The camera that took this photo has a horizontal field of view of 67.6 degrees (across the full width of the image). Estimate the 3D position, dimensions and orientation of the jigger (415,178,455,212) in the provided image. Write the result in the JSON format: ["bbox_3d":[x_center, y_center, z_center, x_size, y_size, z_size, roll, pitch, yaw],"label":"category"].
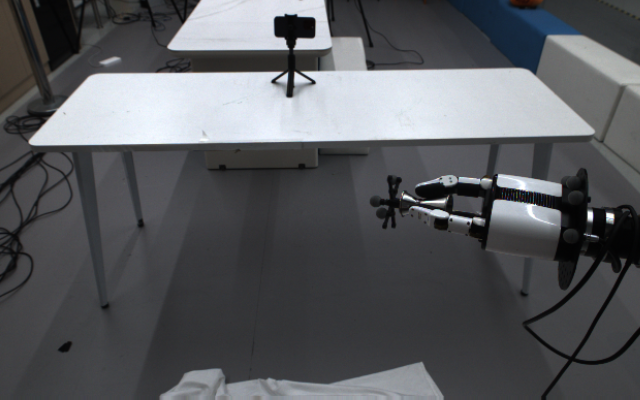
[{"bbox_3d":[0.160,0.002,0.697,0.071,0.043,0.043,6,33,27],"label":"jigger"}]
